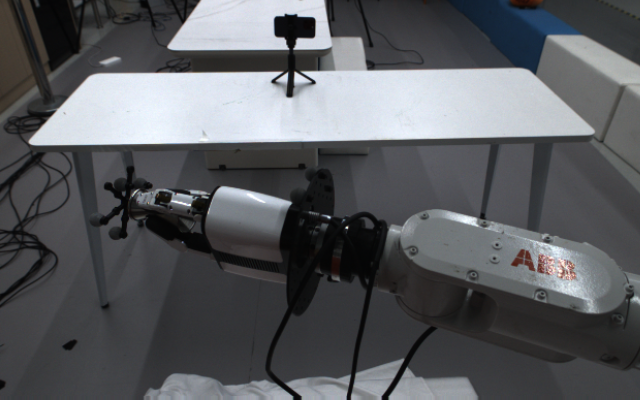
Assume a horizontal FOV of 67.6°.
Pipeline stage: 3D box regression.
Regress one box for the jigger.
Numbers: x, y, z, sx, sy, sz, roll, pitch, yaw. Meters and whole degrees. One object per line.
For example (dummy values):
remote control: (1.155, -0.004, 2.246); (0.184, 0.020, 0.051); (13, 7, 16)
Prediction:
jigger: (-0.181, 0.008, 0.567); (0.071, 0.043, 0.043); (10, 35, 16)
